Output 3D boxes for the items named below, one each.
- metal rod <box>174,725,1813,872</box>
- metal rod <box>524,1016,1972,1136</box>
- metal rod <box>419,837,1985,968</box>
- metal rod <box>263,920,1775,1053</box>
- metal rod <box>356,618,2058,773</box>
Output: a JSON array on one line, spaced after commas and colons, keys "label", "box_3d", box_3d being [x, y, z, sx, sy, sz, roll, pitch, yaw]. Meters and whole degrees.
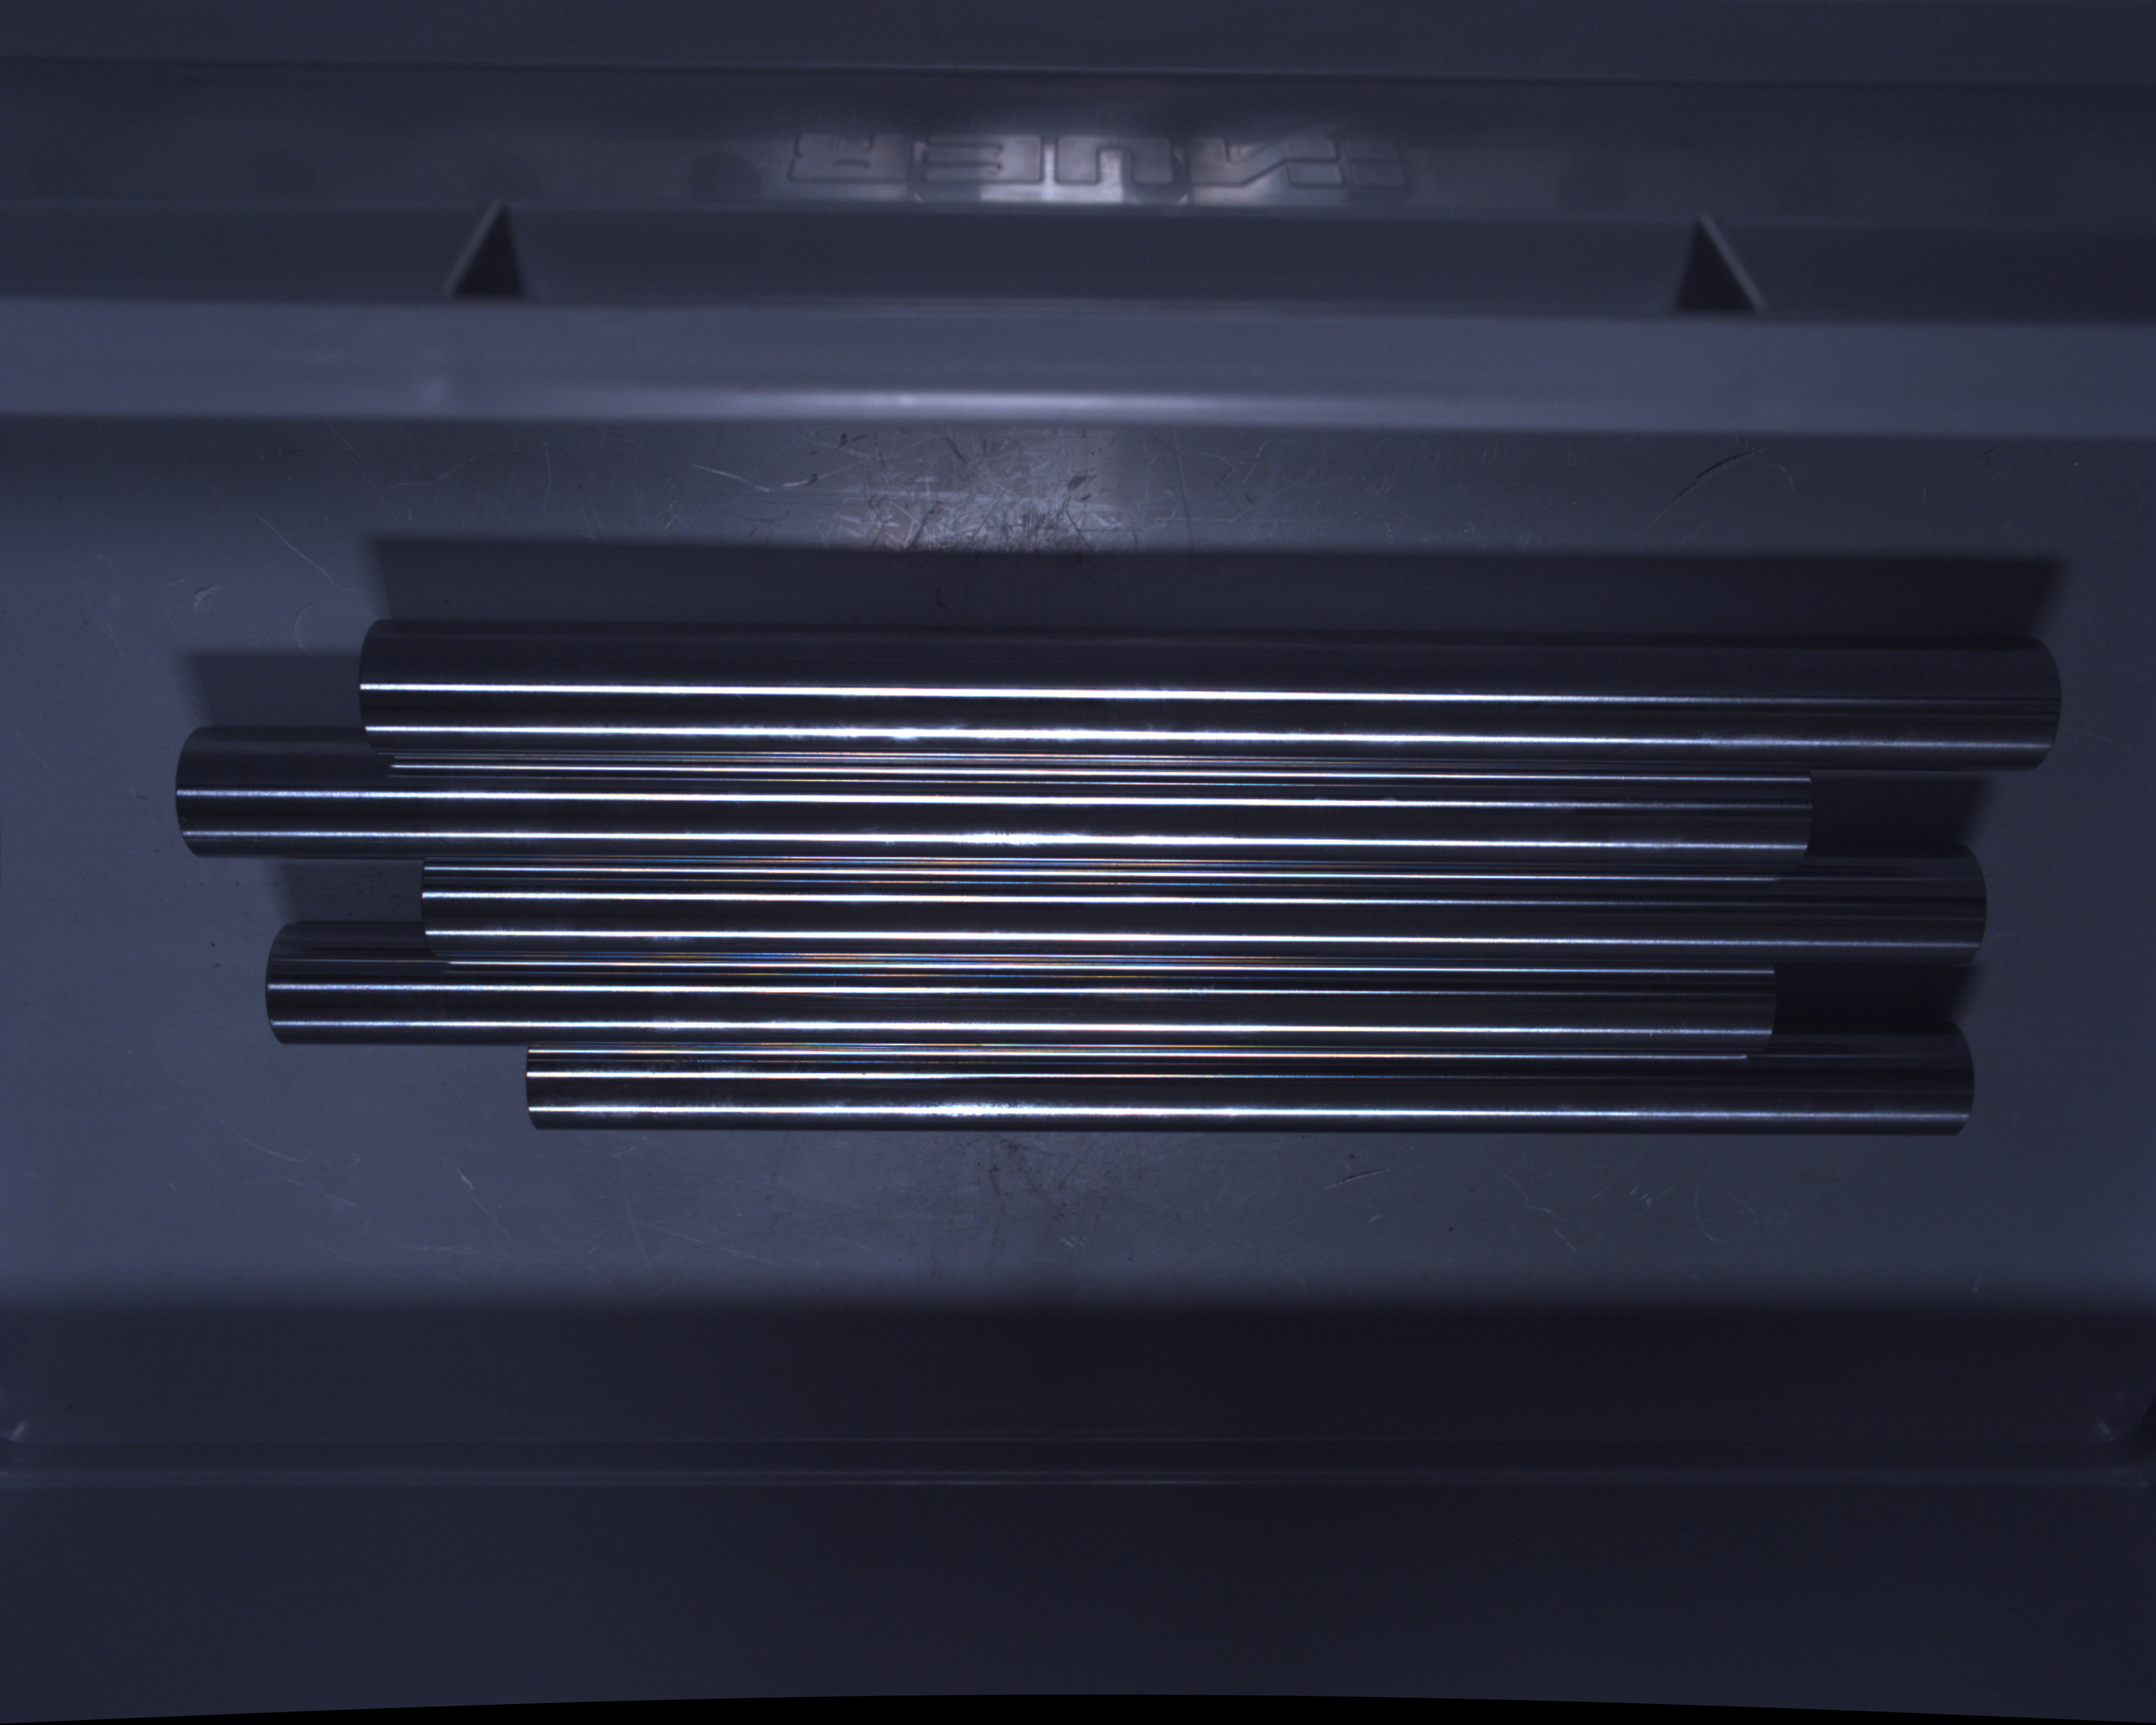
[{"label": "metal rod", "box_3d": [-0.014, -0.012, 0.397, 0.302, 0.025, 0.025, 1, 130, -1]}, {"label": "metal rod", "box_3d": [0.036, 0.045, 0.446, 0.302, 0.025, 0.025, 1, 130, -1]}, {"label": "metal rod", "box_3d": [0.025, 0.007, 0.414, 0.302, 0.025, 0.025, 1, 130, -1]}, {"label": "metal rod", "box_3d": [-0.011, 0.026, 0.429, 0.302, 0.025, 0.025, 1, 130, -1]}, {"label": "metal rod", "box_3d": [0.024, -0.030, 0.382, 0.302, 0.025, 0.025, 1, 130, -1]}]
